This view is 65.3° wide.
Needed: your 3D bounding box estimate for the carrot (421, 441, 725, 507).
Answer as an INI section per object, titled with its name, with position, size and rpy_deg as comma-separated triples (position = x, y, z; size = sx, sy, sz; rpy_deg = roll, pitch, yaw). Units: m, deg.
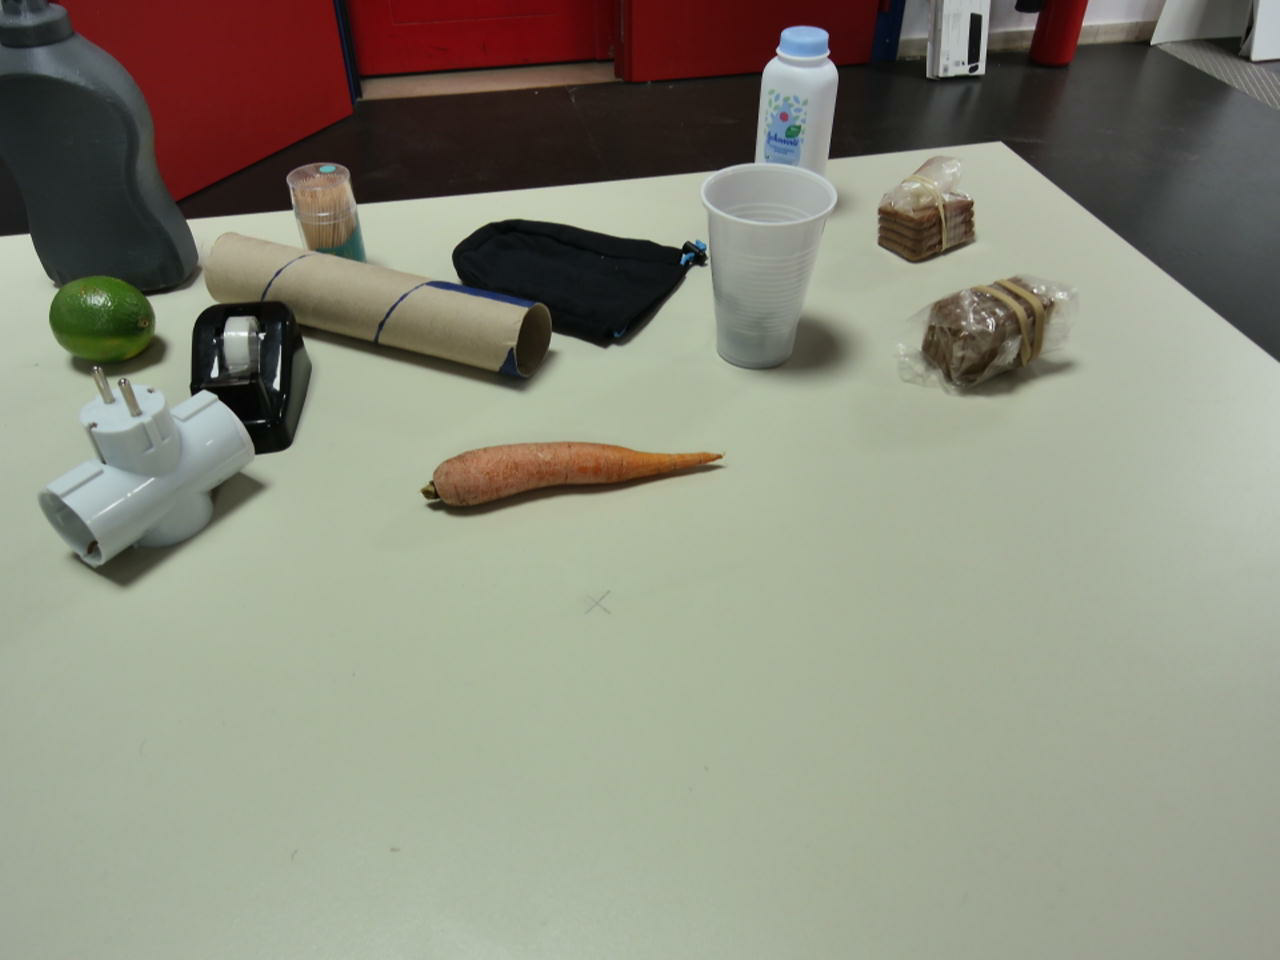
[carrot]
position = -0.036, -0.009, 0.541
size = 0.163, 0.029, 0.031
rpy_deg = -8, 40, -10
